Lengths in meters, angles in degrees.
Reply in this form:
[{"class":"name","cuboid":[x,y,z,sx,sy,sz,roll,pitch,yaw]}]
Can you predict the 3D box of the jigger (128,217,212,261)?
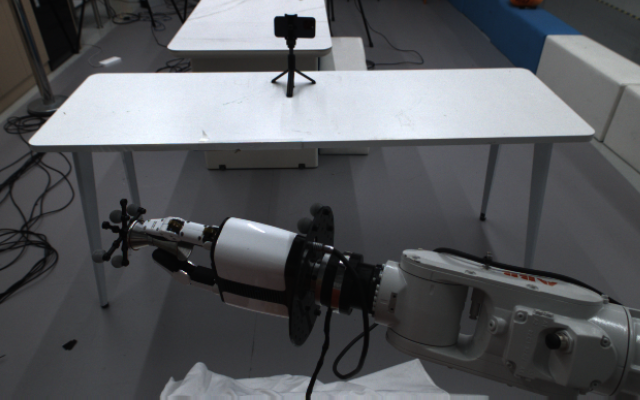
[{"class":"jigger","cuboid":[-0.189,0.045,0.595,0.071,0.043,0.043,8,35,12]}]
